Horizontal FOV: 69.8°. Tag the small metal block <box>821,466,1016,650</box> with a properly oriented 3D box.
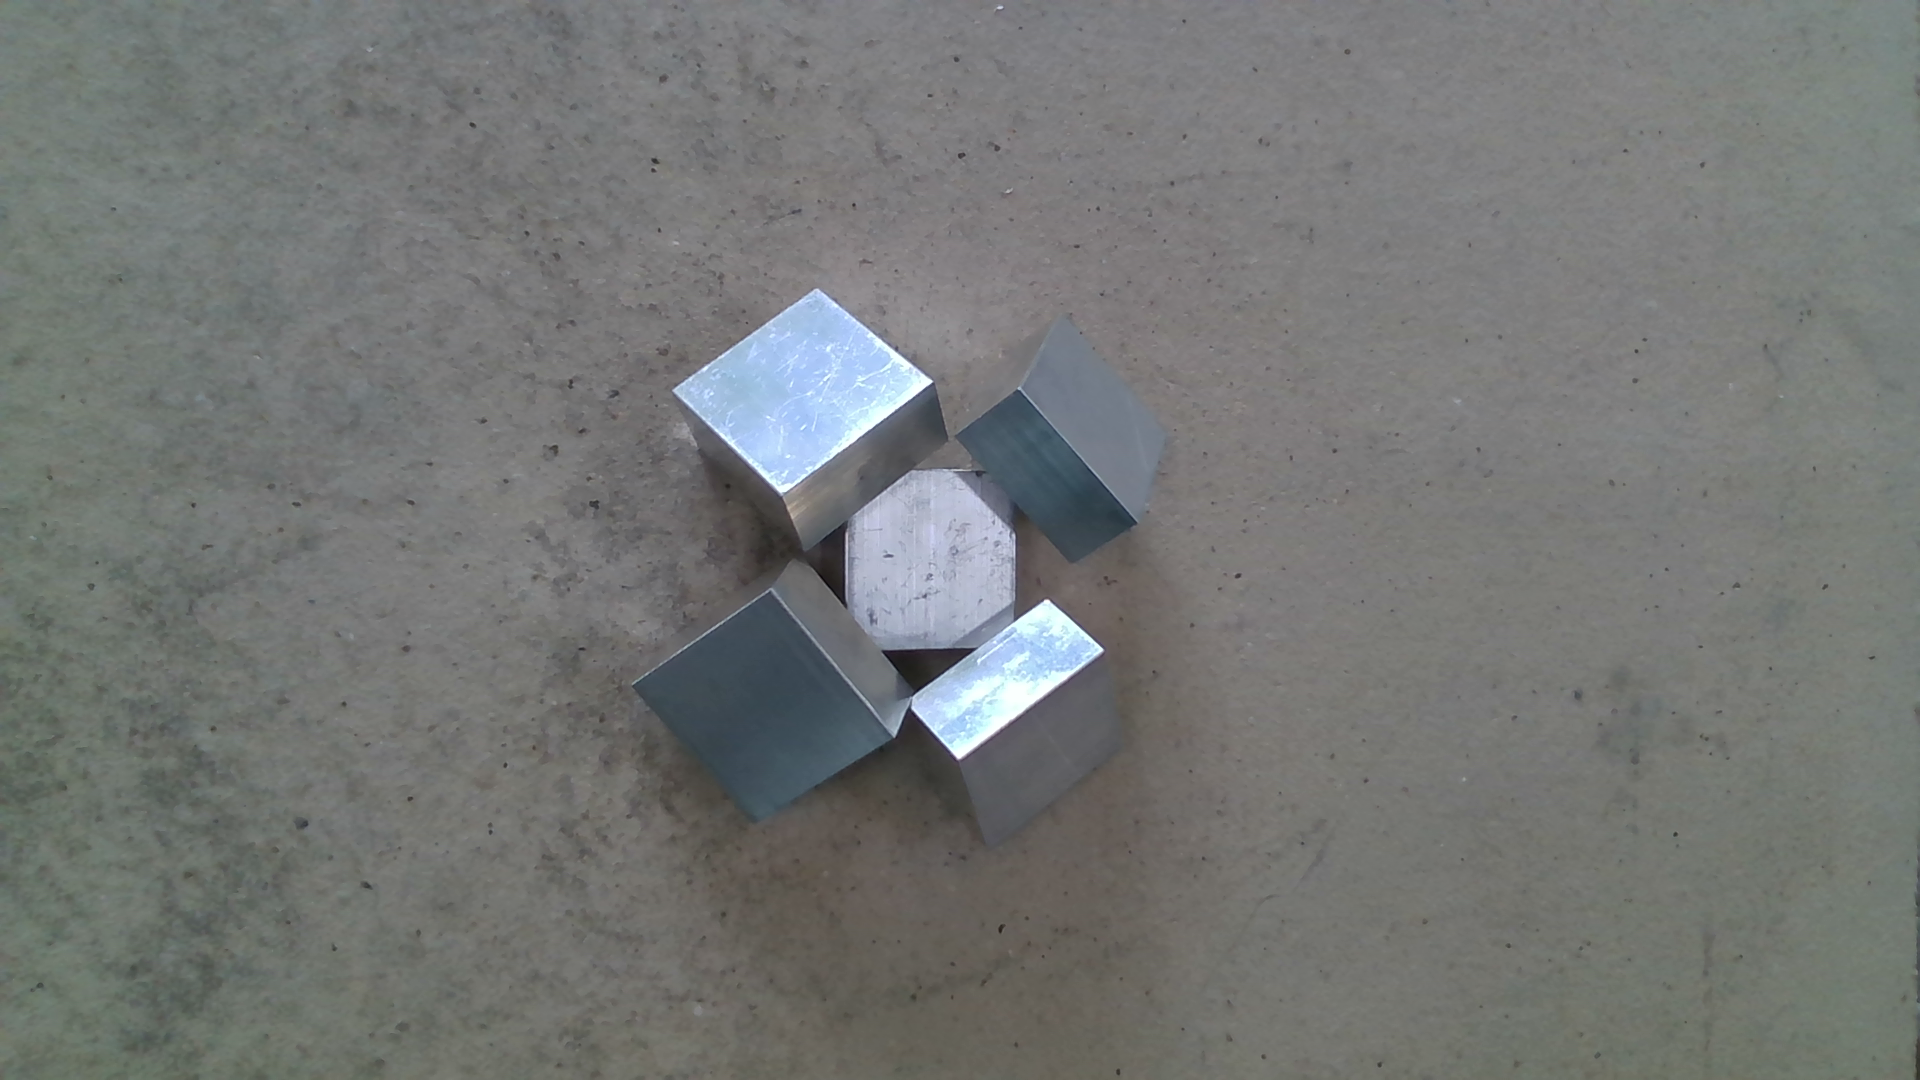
[{"bbox_3d":[-0.012,0.005,0.390,0.050,0.025,0.050,-1,92,-20],"label":"small metal block"}]

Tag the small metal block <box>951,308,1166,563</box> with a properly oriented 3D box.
[{"bbox_3d":[0.030,-0.030,0.391,0.050,0.025,0.050,47,34,-15],"label":"small metal block"}]

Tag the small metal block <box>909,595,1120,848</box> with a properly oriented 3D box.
[{"bbox_3d":[0.016,0.052,0.387,0.050,0.025,0.050,-34,142,-16],"label":"small metal block"}]

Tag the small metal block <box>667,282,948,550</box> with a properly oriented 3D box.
[{"bbox_3d":[-0.040,-0.034,0.365,0.050,0.025,0.050,-39,59,-16],"label":"small metal block"}]

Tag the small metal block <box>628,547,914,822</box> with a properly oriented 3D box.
[{"bbox_3d":[-0.049,0.038,0.363,0.050,0.025,0.050,-33,104,22],"label":"small metal block"}]
